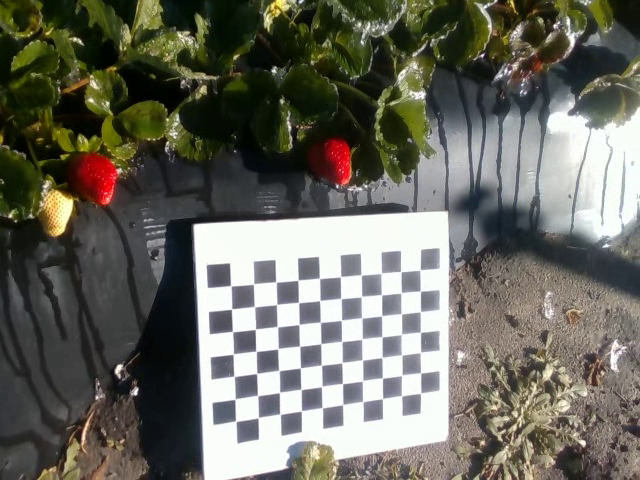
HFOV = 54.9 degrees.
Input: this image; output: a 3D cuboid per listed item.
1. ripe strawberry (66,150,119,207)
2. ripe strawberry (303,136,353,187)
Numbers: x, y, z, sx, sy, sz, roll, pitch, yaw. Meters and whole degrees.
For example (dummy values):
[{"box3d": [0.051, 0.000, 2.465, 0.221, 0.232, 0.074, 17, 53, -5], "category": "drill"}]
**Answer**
[{"box3d": [-0.201, -0.049, 0.559, 0.042, 0.061, 0.046, -19, -30, -17], "category": "ripe strawberry"}, {"box3d": [0.015, -0.079, 0.626, 0.048, 0.061, 0.044, -12, -23, -18], "category": "ripe strawberry"}]
